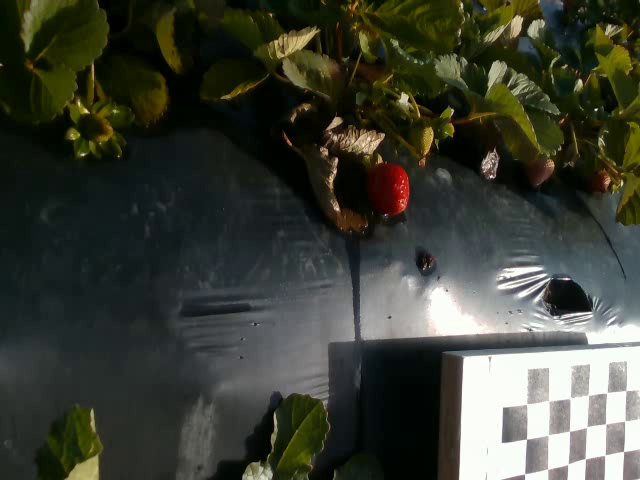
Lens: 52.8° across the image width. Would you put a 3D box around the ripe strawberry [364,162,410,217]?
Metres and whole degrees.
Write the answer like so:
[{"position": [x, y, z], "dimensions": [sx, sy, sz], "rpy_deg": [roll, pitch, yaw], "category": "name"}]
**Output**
[{"position": [0.046, -0.025, 0.396], "dimensions": [0.046, 0.038, 0.054], "rpy_deg": [29, 28, -31], "category": "ripe strawberry"}]
